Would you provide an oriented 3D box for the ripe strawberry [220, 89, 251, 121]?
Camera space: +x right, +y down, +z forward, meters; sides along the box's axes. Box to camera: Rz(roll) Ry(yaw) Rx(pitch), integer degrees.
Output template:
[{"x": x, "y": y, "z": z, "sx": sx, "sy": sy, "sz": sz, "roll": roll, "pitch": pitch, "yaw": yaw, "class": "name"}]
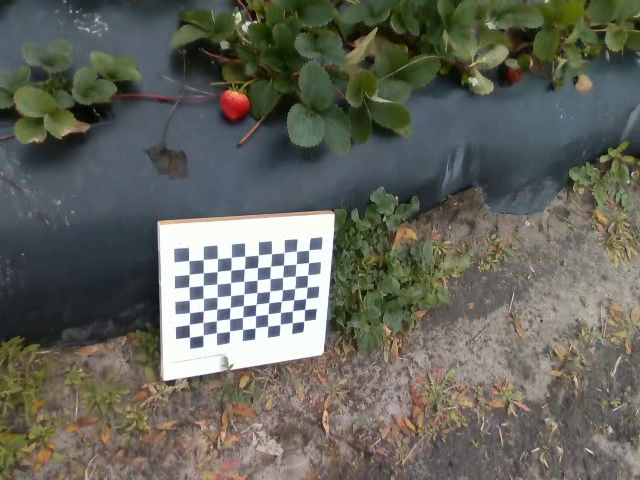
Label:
[{"x": -0.167, "y": -0.257, "z": 1.045, "sx": 0.061, "sy": 0.065, "sz": 0.049, "roll": 5, "pitch": 12, "yaw": -28, "class": "ripe strawberry"}]
